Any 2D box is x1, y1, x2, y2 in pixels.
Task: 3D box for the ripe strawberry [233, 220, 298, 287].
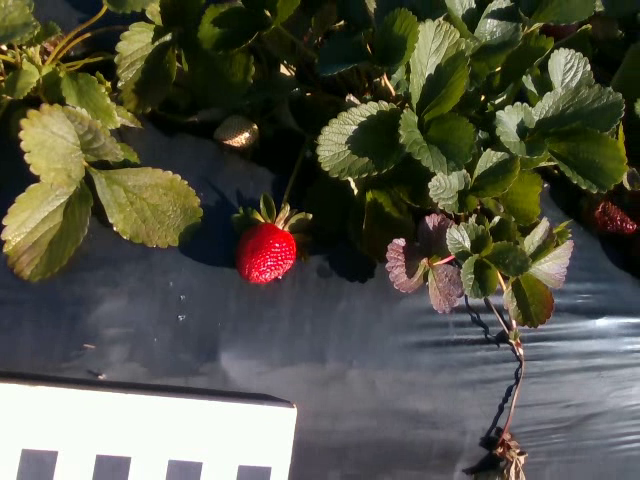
[{"bbox_3d":[-0.037,0.014,0.384,0.043,0.042,0.050,-41,10,35],"label":"ripe strawberry"}]
